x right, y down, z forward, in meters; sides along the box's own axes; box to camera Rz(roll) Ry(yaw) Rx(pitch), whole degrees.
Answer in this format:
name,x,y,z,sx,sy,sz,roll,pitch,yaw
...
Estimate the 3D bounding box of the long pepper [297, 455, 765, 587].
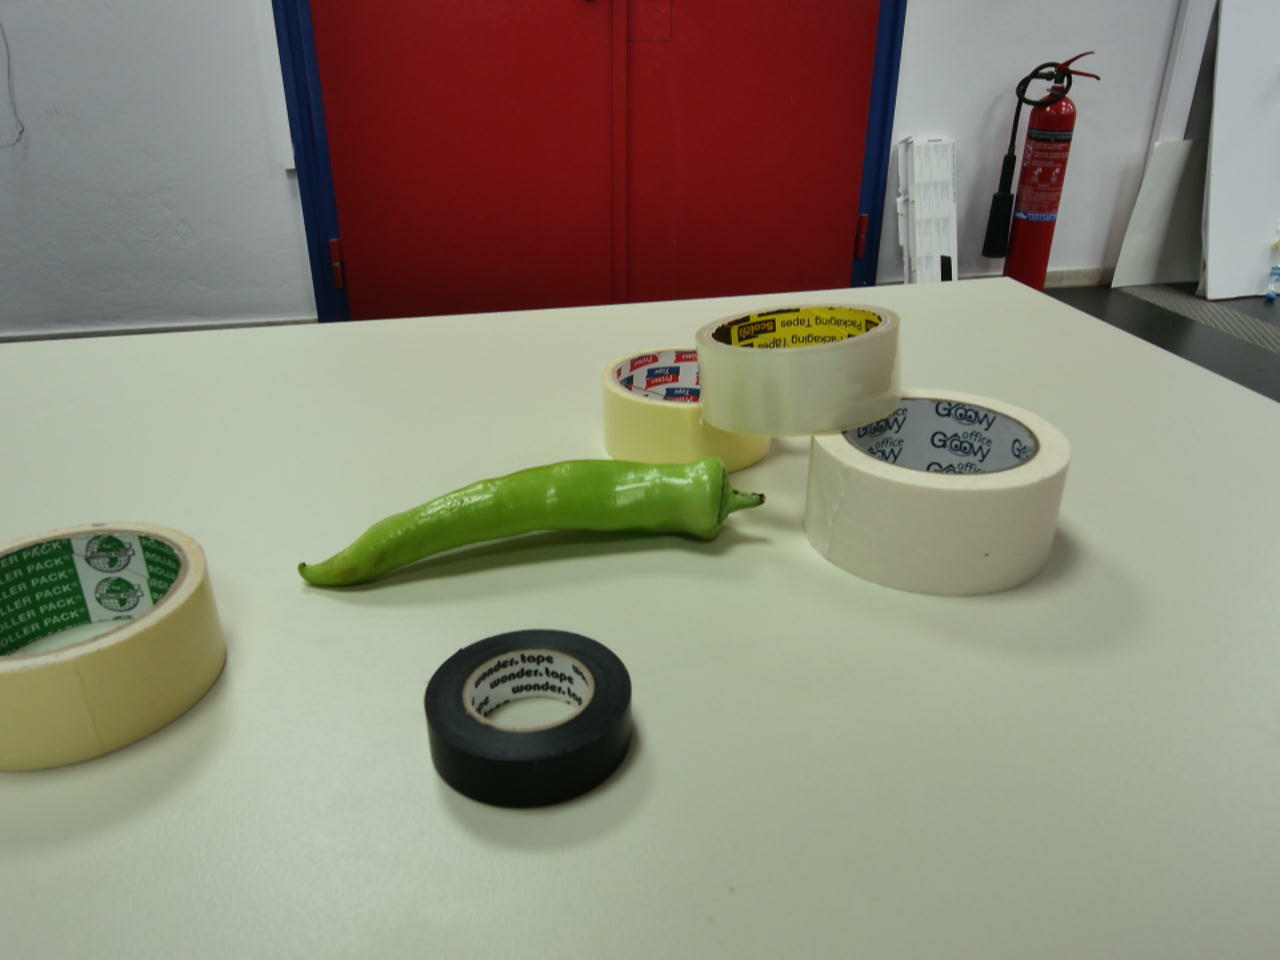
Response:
name,x,y,z,sx,sy,sz,roll,pitch,yaw
long pepper,-0.045,0.013,0.428,0.197,0.038,0.046,-5,25,-10
